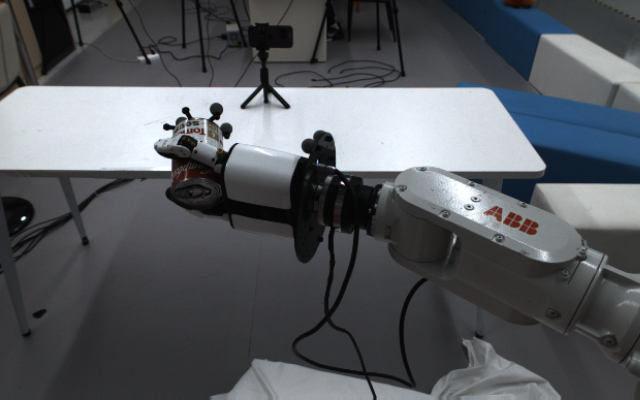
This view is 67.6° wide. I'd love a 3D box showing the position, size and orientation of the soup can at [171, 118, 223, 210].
[{"bbox_3d":[-0.157,-0.047,0.626,0.067,0.067,0.101,-5,56,-10],"label":"soup can"}]
